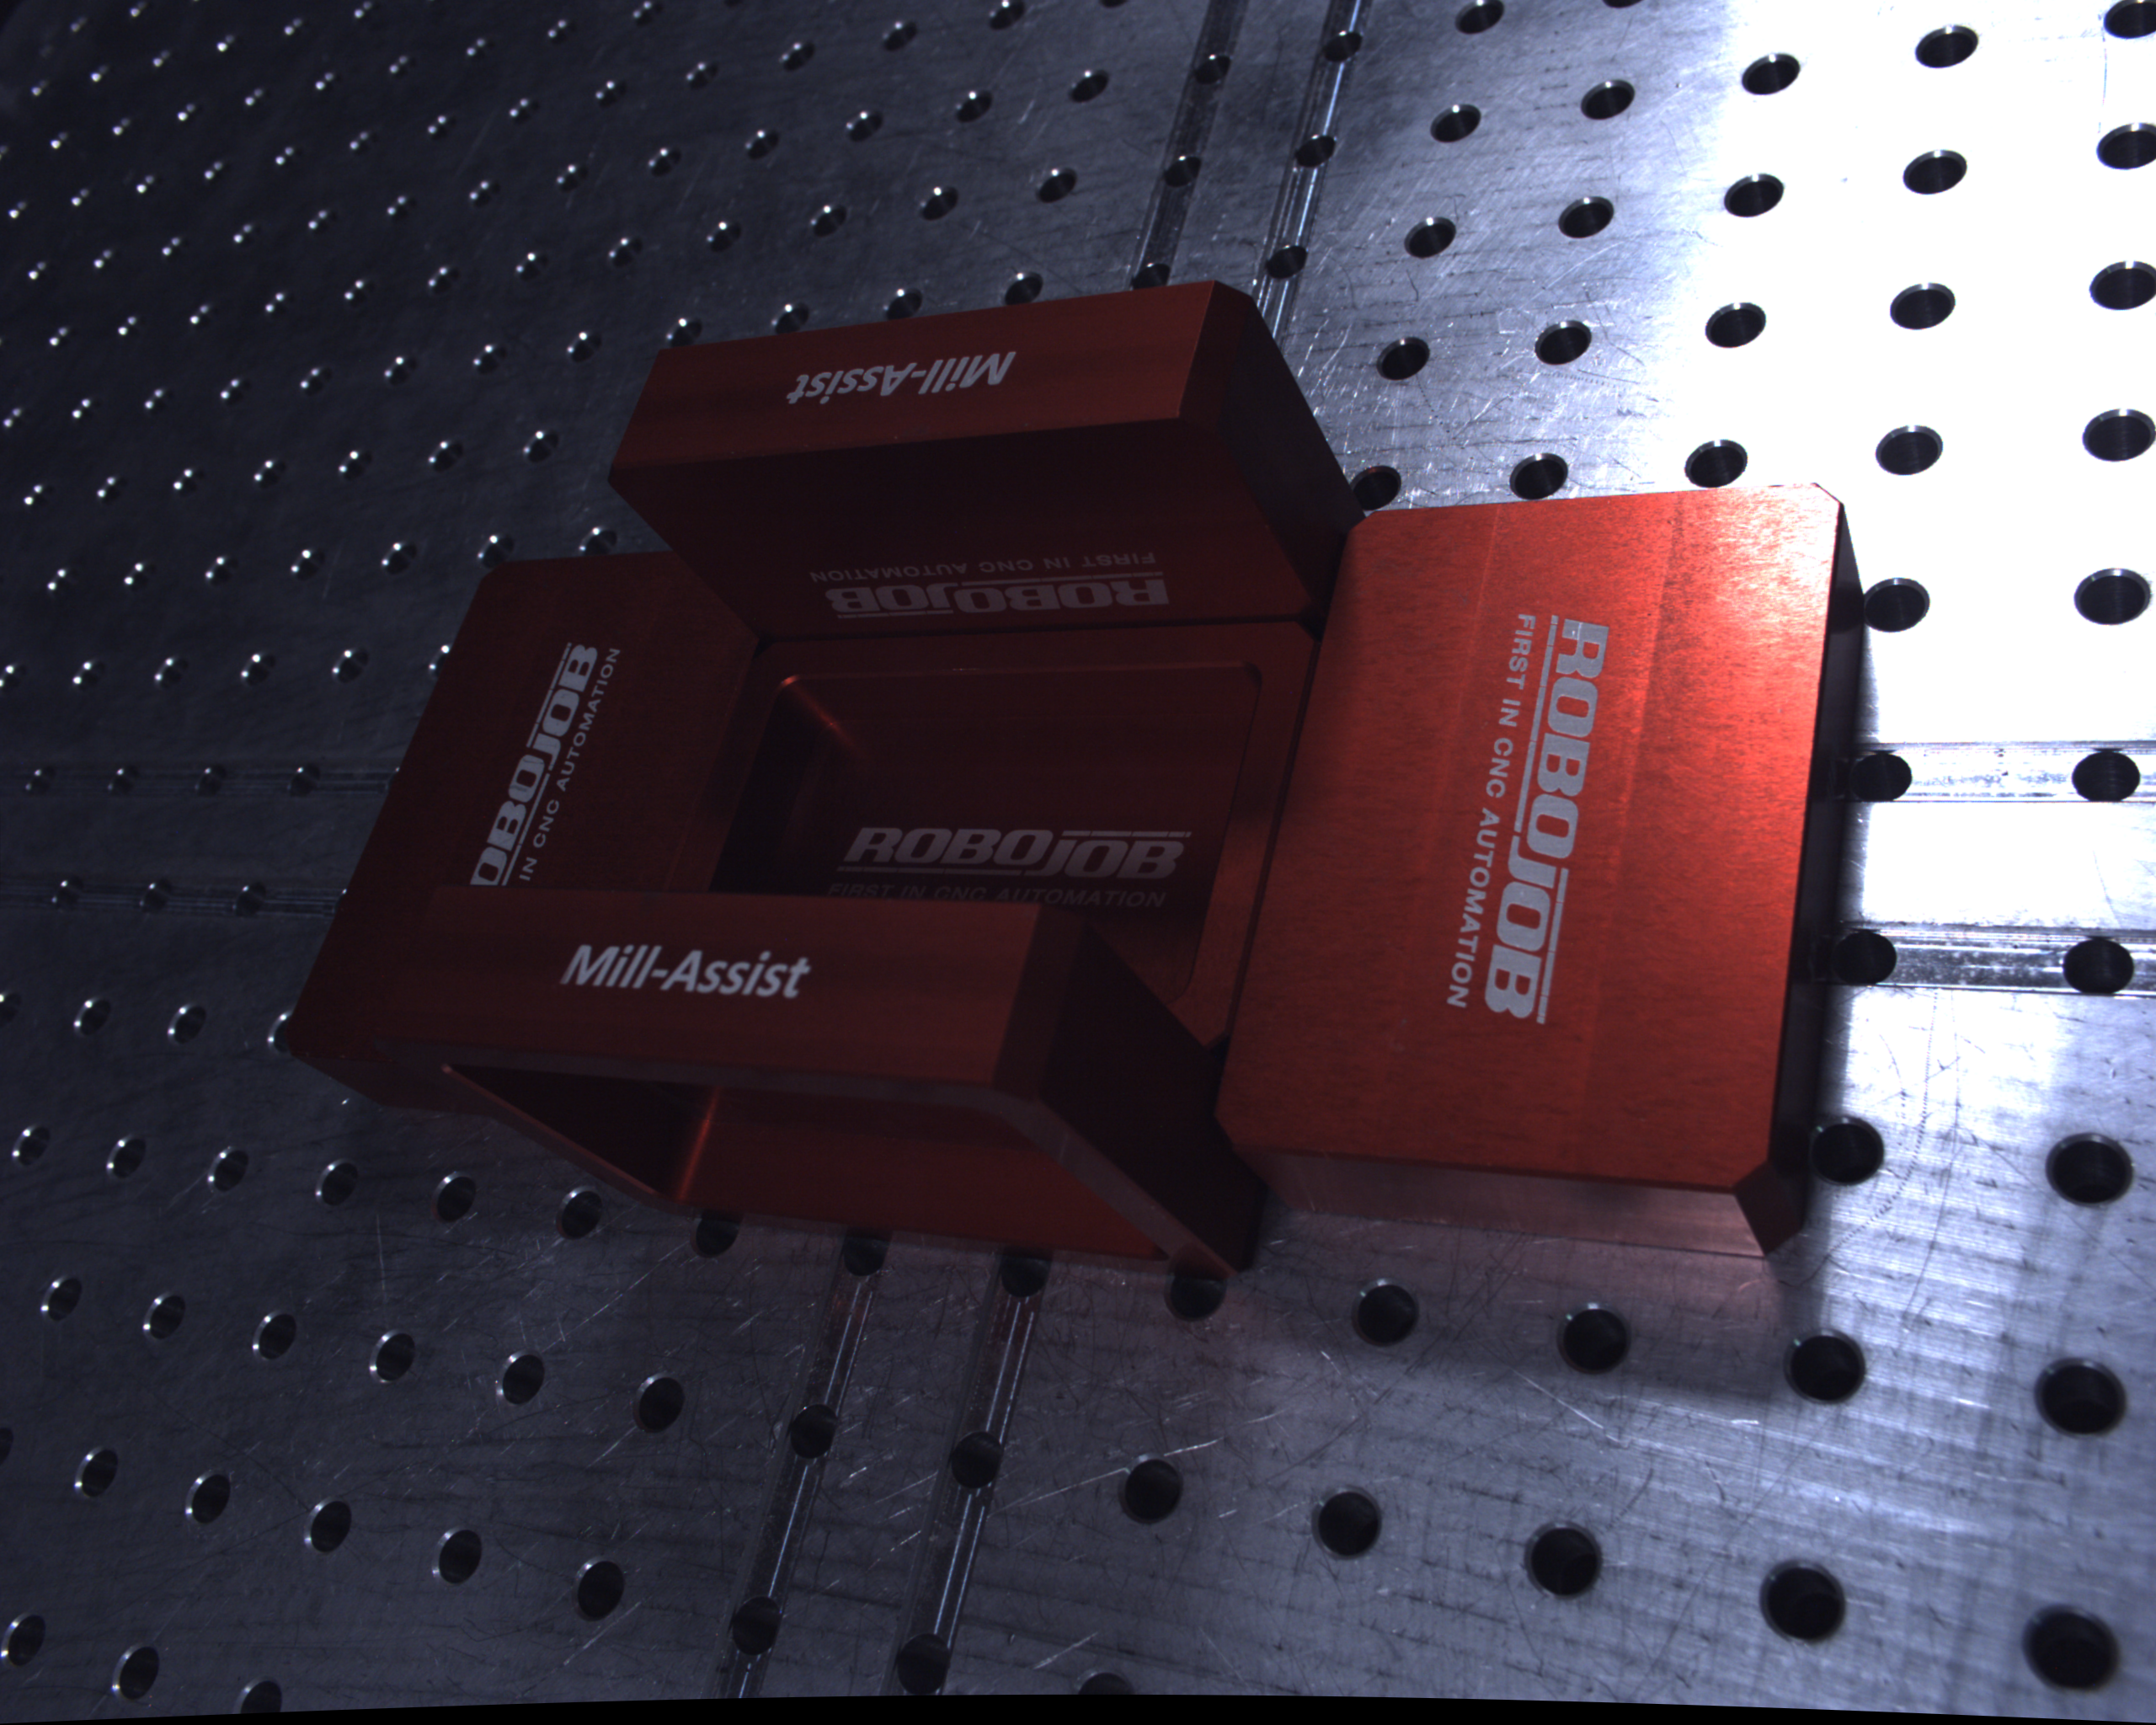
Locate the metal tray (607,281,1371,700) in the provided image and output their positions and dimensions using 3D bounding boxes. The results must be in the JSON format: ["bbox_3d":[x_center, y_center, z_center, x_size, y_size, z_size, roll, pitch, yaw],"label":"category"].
[{"bbox_3d":[-0.014,-0.067,0.414,0.130,0.090,0.030,1,63,28],"label":"metal tray"}]

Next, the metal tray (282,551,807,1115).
[{"bbox_3d":[-0.113,-0.008,0.467,0.090,0.030,0.130,1,62,28],"label":"metal tray"}]

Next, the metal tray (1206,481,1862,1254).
[{"bbox_3d":[0.081,-0.003,0.361,0.090,0.030,0.130,2,62,27],"label":"metal tray"}]

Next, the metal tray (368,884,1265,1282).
[{"bbox_3d":[-0.044,0.038,0.363,0.130,0.090,0.030,1,63,28],"label":"metal tray"}]

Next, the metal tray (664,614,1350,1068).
[{"bbox_3d":[-0.017,-0.001,0.410,0.130,0.030,0.090,1,62,28],"label":"metal tray"}]
